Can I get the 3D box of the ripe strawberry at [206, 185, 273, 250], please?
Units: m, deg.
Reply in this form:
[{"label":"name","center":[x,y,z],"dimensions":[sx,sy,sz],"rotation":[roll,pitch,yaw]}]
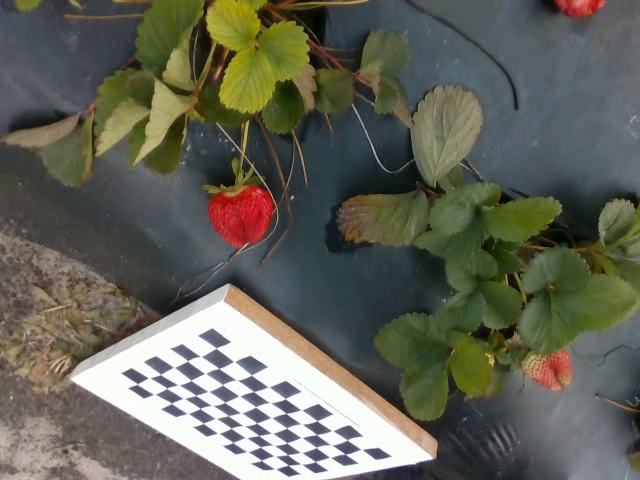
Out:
[{"label":"ripe strawberry","center":[-0.018,-0.004,0.128],"dimensions":[0.017,0.015,0.013],"rotation":[-6,-1,25]}]
